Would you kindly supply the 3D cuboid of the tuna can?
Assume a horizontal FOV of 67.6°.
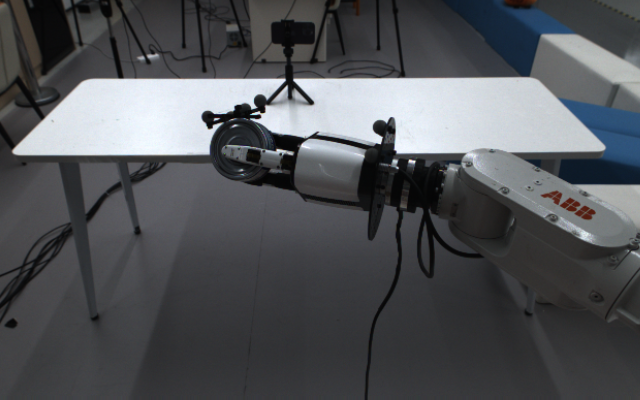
[{"bbox_3d":[-0.102,-0.062,0.655,0.085,0.085,0.034,12,3,14],"label":"tuna can"}]
